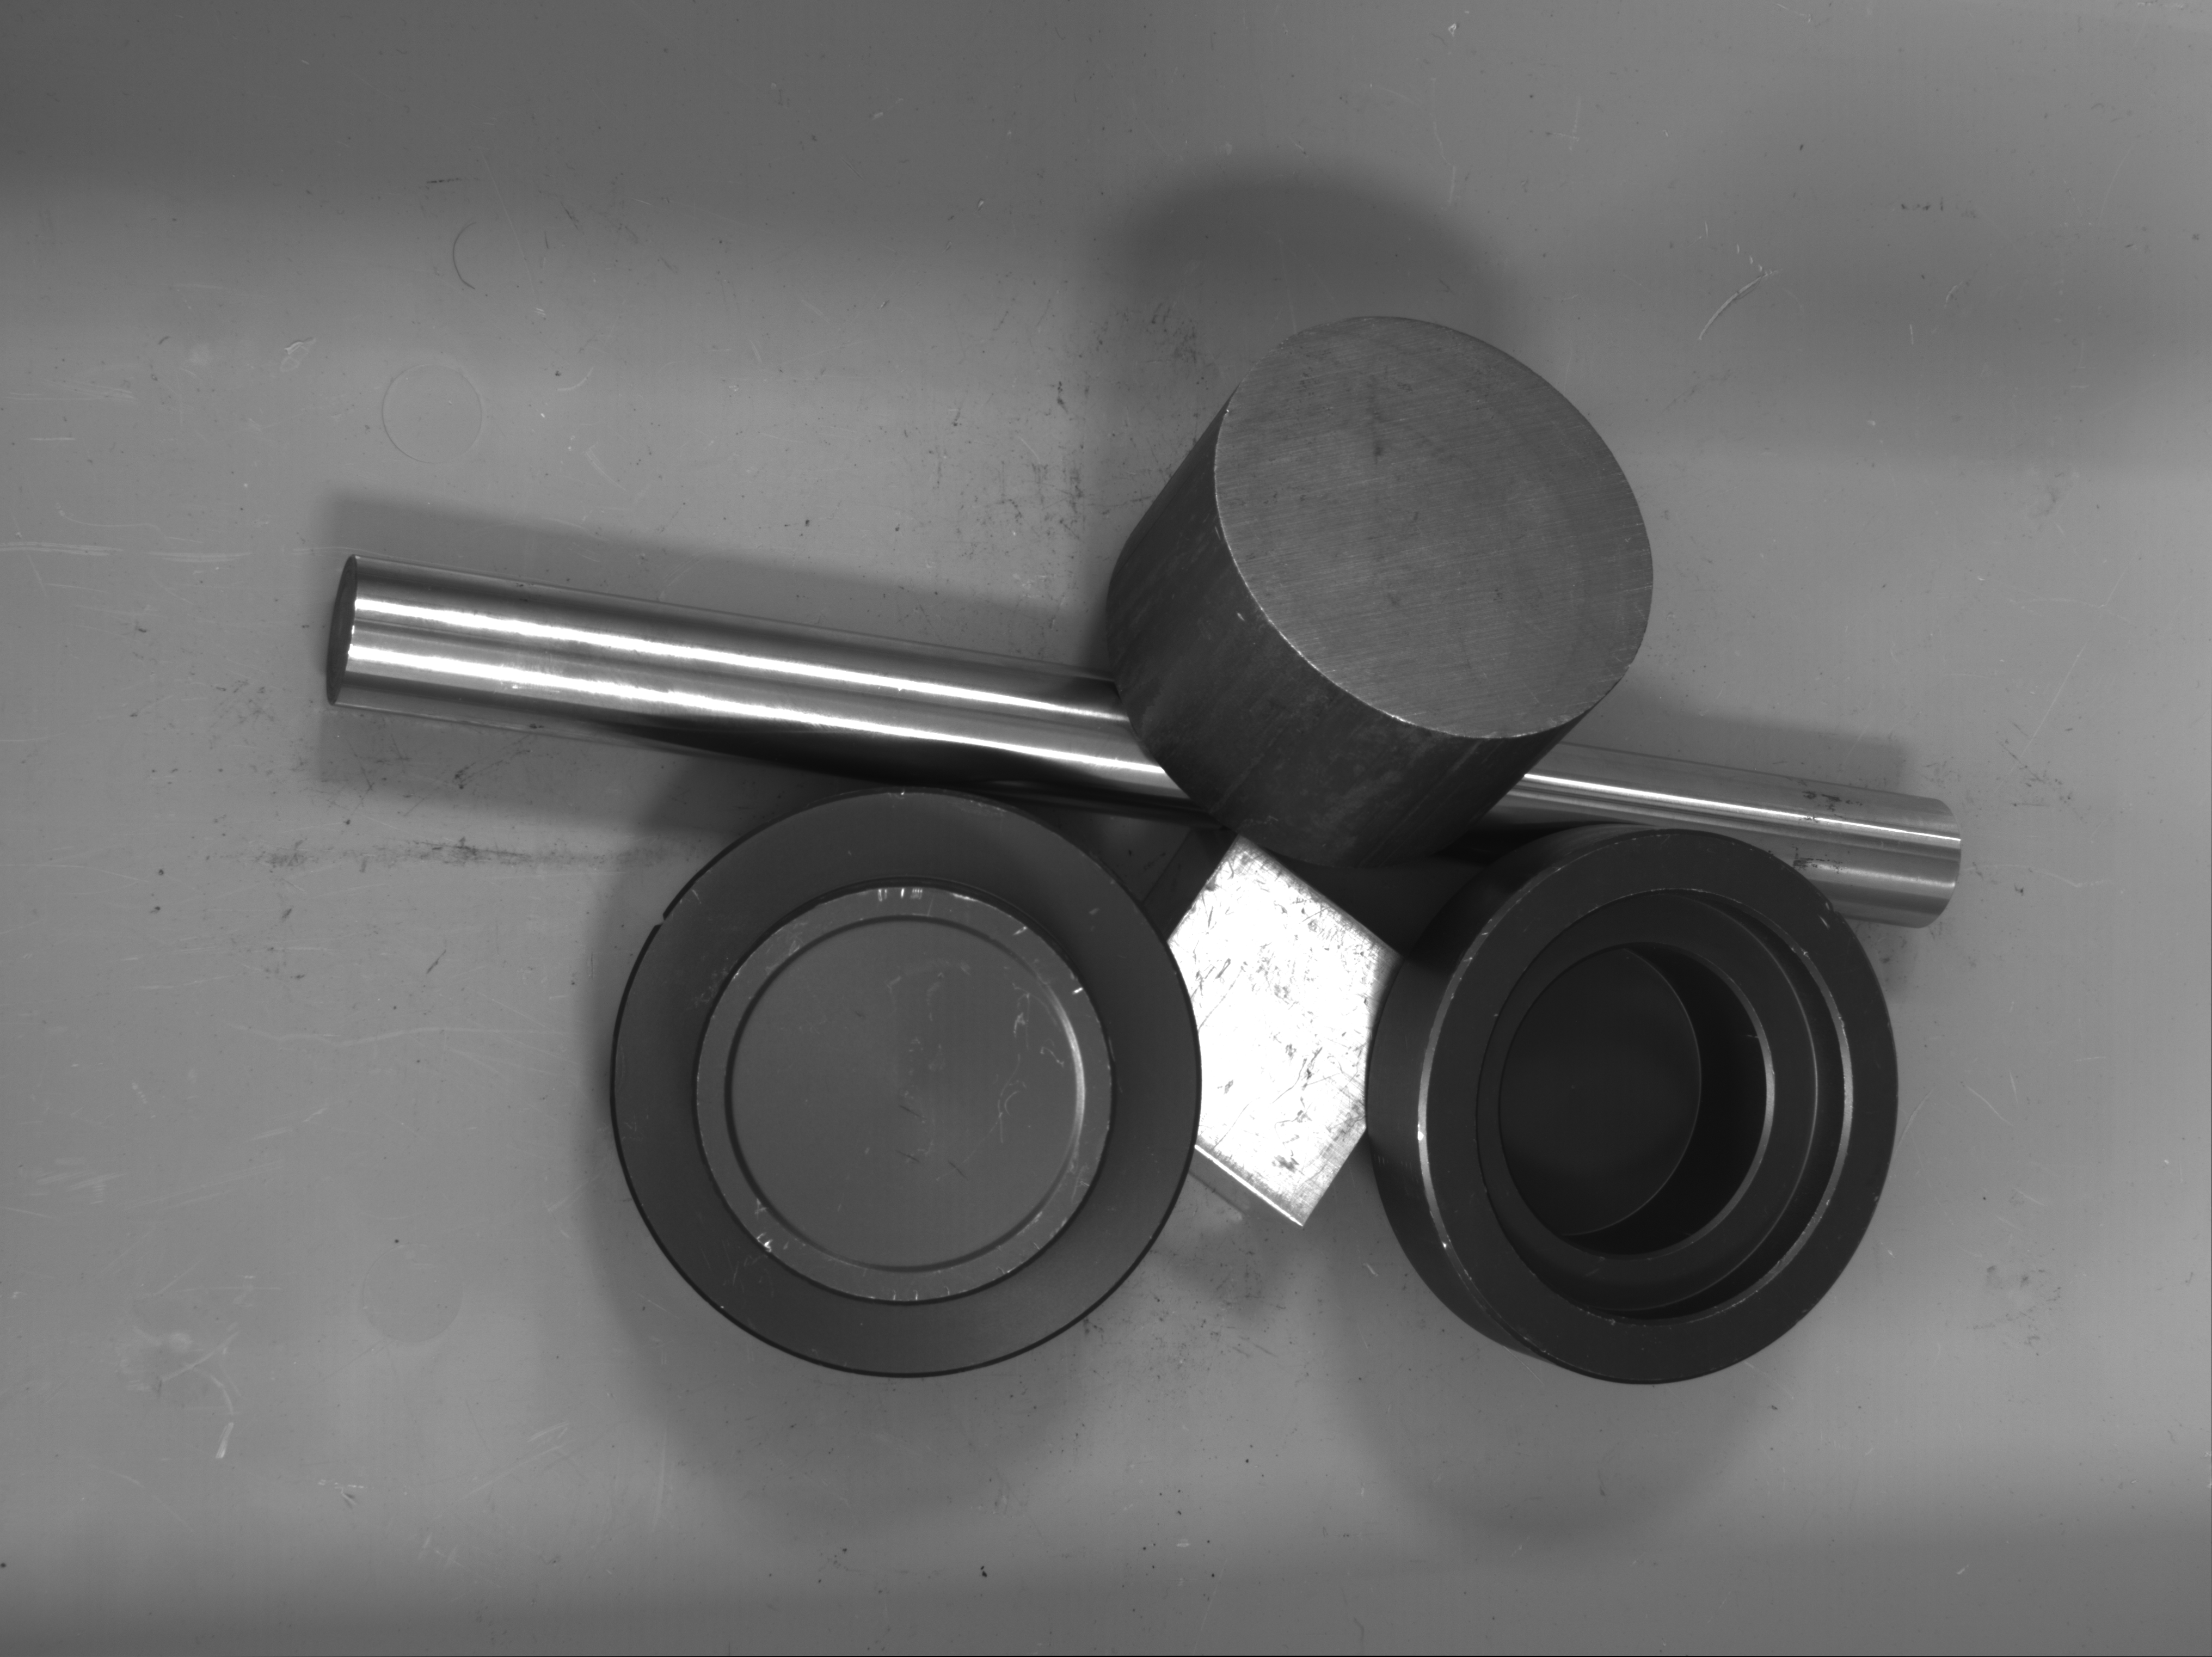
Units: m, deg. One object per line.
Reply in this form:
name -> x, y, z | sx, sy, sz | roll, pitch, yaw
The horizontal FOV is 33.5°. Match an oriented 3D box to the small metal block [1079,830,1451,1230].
small metal block -> 0.025, 0.035, 0.651 | 0.050, 0.025, 0.050 | 38, 78, -16

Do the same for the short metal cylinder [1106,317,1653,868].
short metal cylinder -> 0.046, -0.040, 0.630 | 0.080, 0.050, 0.080 | 10, 61, -18

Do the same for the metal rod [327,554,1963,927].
metal rod -> 0.016, -0.013, 0.648 | 0.301, 0.025, 0.025 | 8, 87, -20

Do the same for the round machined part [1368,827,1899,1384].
round machined part -> 0.091, 0.048, 0.663 | 0.098, 0.042, 0.098 | -1, 93, -23

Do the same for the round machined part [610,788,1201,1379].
round machined part -> -0.033, 0.042, 0.607 | 0.098, 0.042, 0.098 | 0, 91, -2
